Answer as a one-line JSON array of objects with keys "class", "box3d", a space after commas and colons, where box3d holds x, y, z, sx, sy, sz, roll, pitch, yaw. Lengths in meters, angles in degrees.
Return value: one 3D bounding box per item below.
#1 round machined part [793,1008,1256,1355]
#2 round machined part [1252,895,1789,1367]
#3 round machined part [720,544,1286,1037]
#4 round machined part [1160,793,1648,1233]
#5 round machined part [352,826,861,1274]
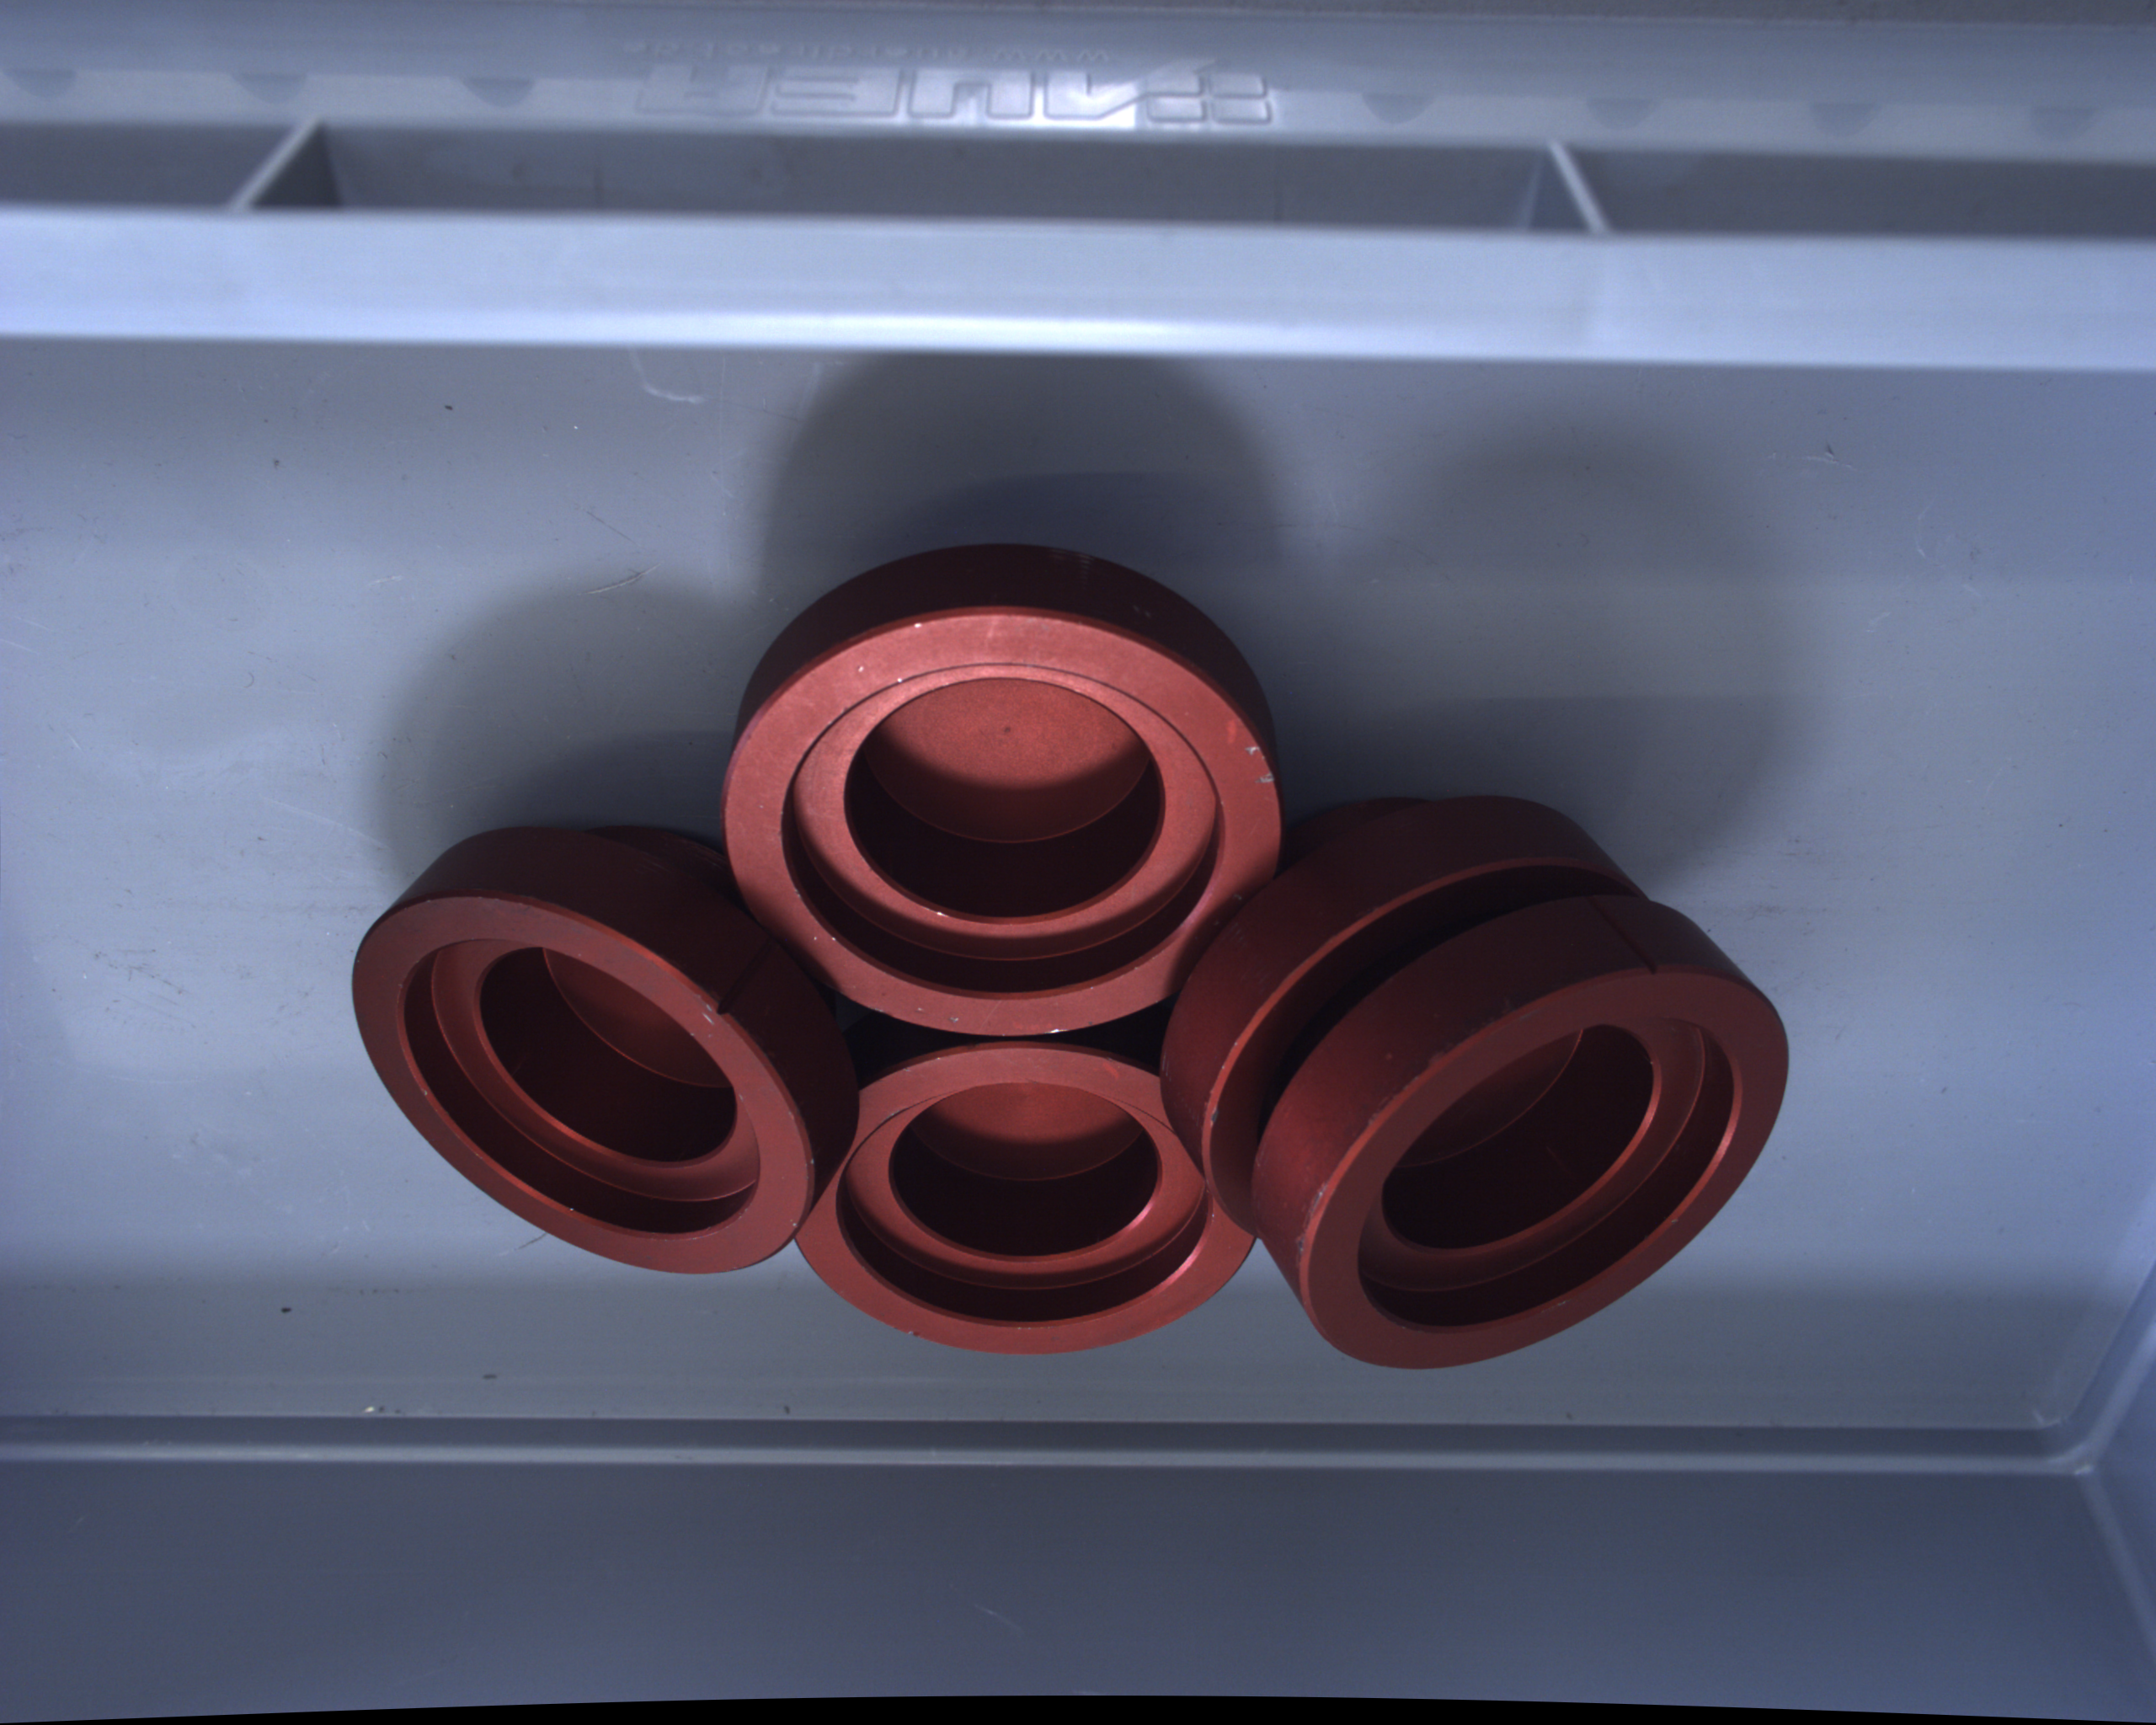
[{"class": "round machined part", "box3d": [-0.011, 0.059, 0.445, 0.099, 0.042, 0.097, 0, 130, 0]}, {"class": "round machined part", "box3d": [0.076, 0.044, 0.383, 0.099, 0.042, 0.097, -15, 132, -17]}, {"class": "round machined part", "box3d": [-0.013, -0.017, 0.380, 0.099, 0.042, 0.097, 0, 130, 0]}, {"class": "round machined part", "box3d": [0.061, 0.026, 0.405, 0.099, 0.042, 0.097, -15, 132, -17]}, {"class": "round machined part", "box3d": [-0.087, 0.032, 0.408, 0.098, 0.042, 0.097, 13, 132, 16]}]
